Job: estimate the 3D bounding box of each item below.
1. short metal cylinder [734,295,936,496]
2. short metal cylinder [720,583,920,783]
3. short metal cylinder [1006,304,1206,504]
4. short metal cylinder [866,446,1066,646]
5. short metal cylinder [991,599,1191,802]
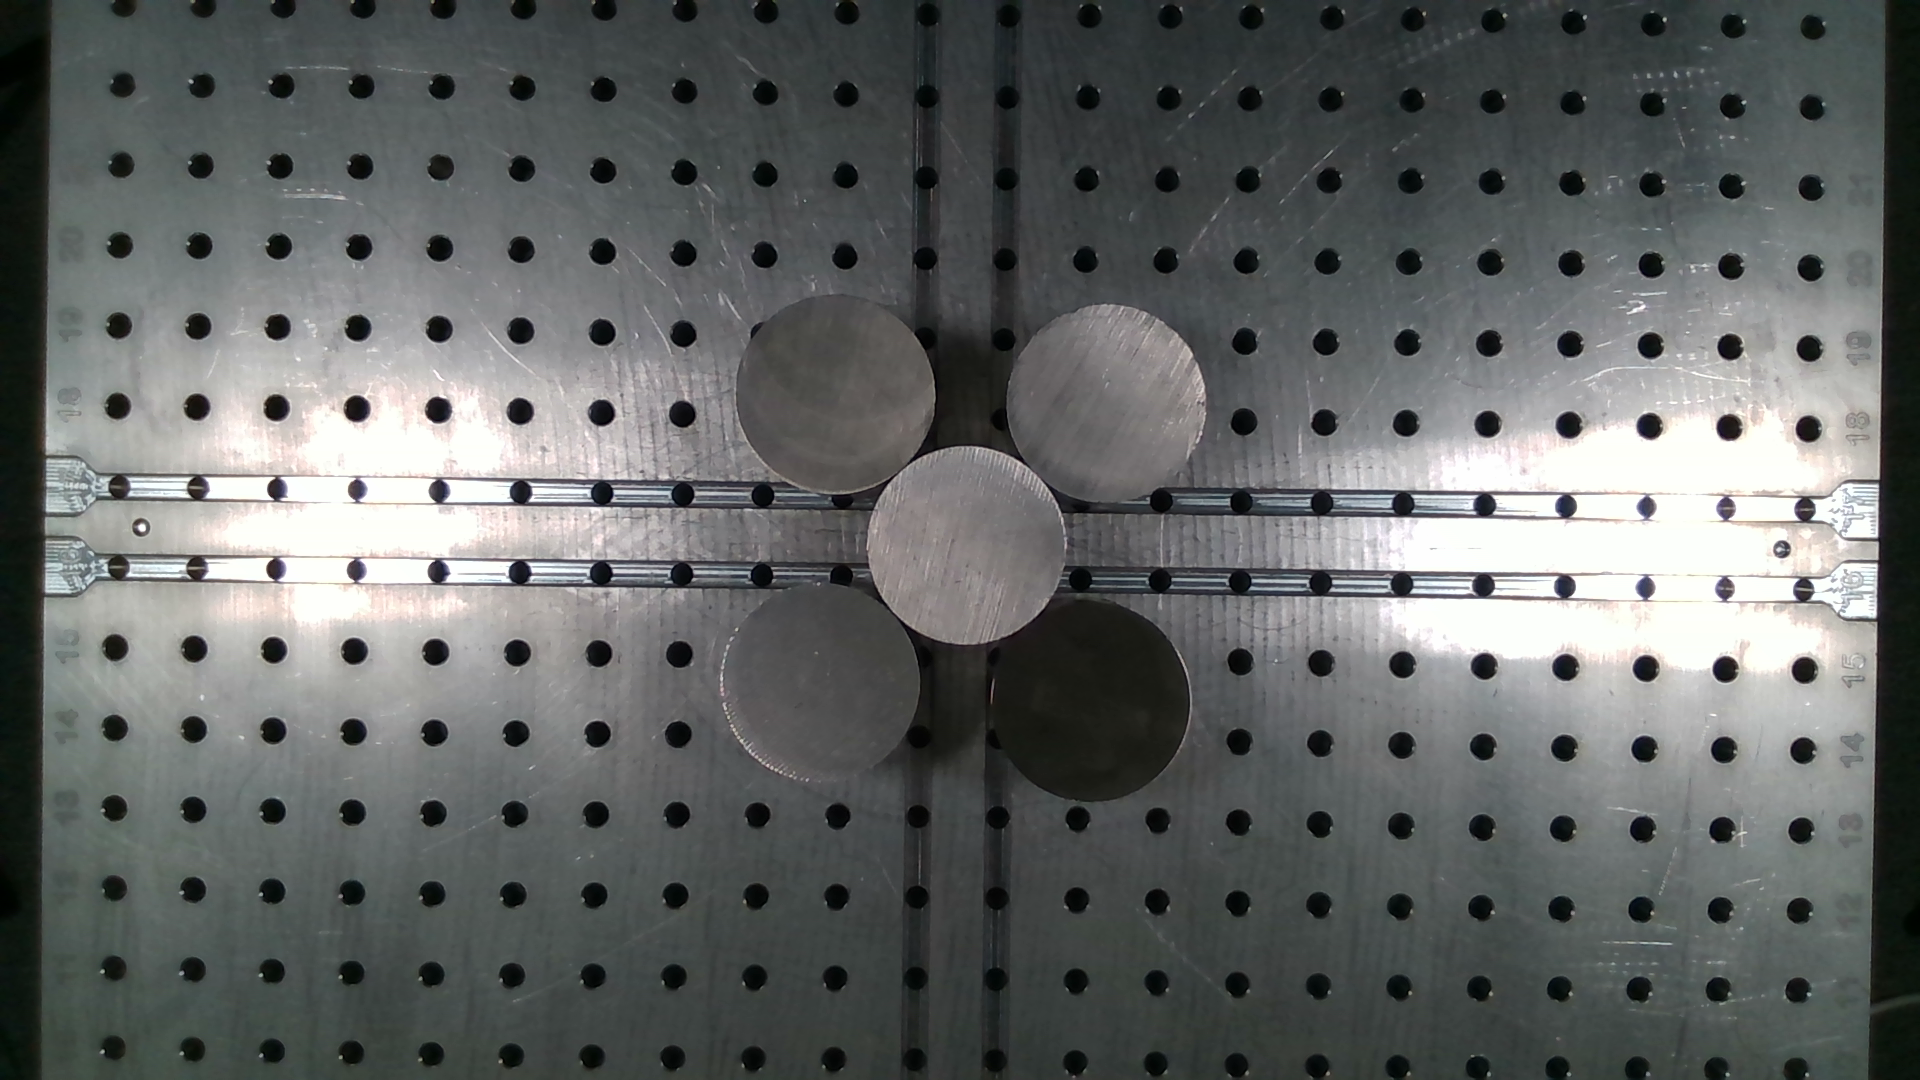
[{"bbox_3d":[-0.050,-0.058,0.575,0.080,0.050,0.080,0,90,0],"label":"short metal cylinder"},{"bbox_3d":[-0.056,0.057,0.577,0.080,0.050,0.080,0,90,0],"label":"short metal cylinder"},{"bbox_3d":[0.059,-0.054,0.576,0.080,0.050,0.080,0,90,0],"label":"short metal cylinder"},{"bbox_3d":[0.002,0.002,0.576,0.080,0.050,0.080,0,90,0],"label":"short metal cylinder"},{"bbox_3d":[0.052,0.065,0.575,0.080,0.050,0.080,0,90,0],"label":"short metal cylinder"}]
